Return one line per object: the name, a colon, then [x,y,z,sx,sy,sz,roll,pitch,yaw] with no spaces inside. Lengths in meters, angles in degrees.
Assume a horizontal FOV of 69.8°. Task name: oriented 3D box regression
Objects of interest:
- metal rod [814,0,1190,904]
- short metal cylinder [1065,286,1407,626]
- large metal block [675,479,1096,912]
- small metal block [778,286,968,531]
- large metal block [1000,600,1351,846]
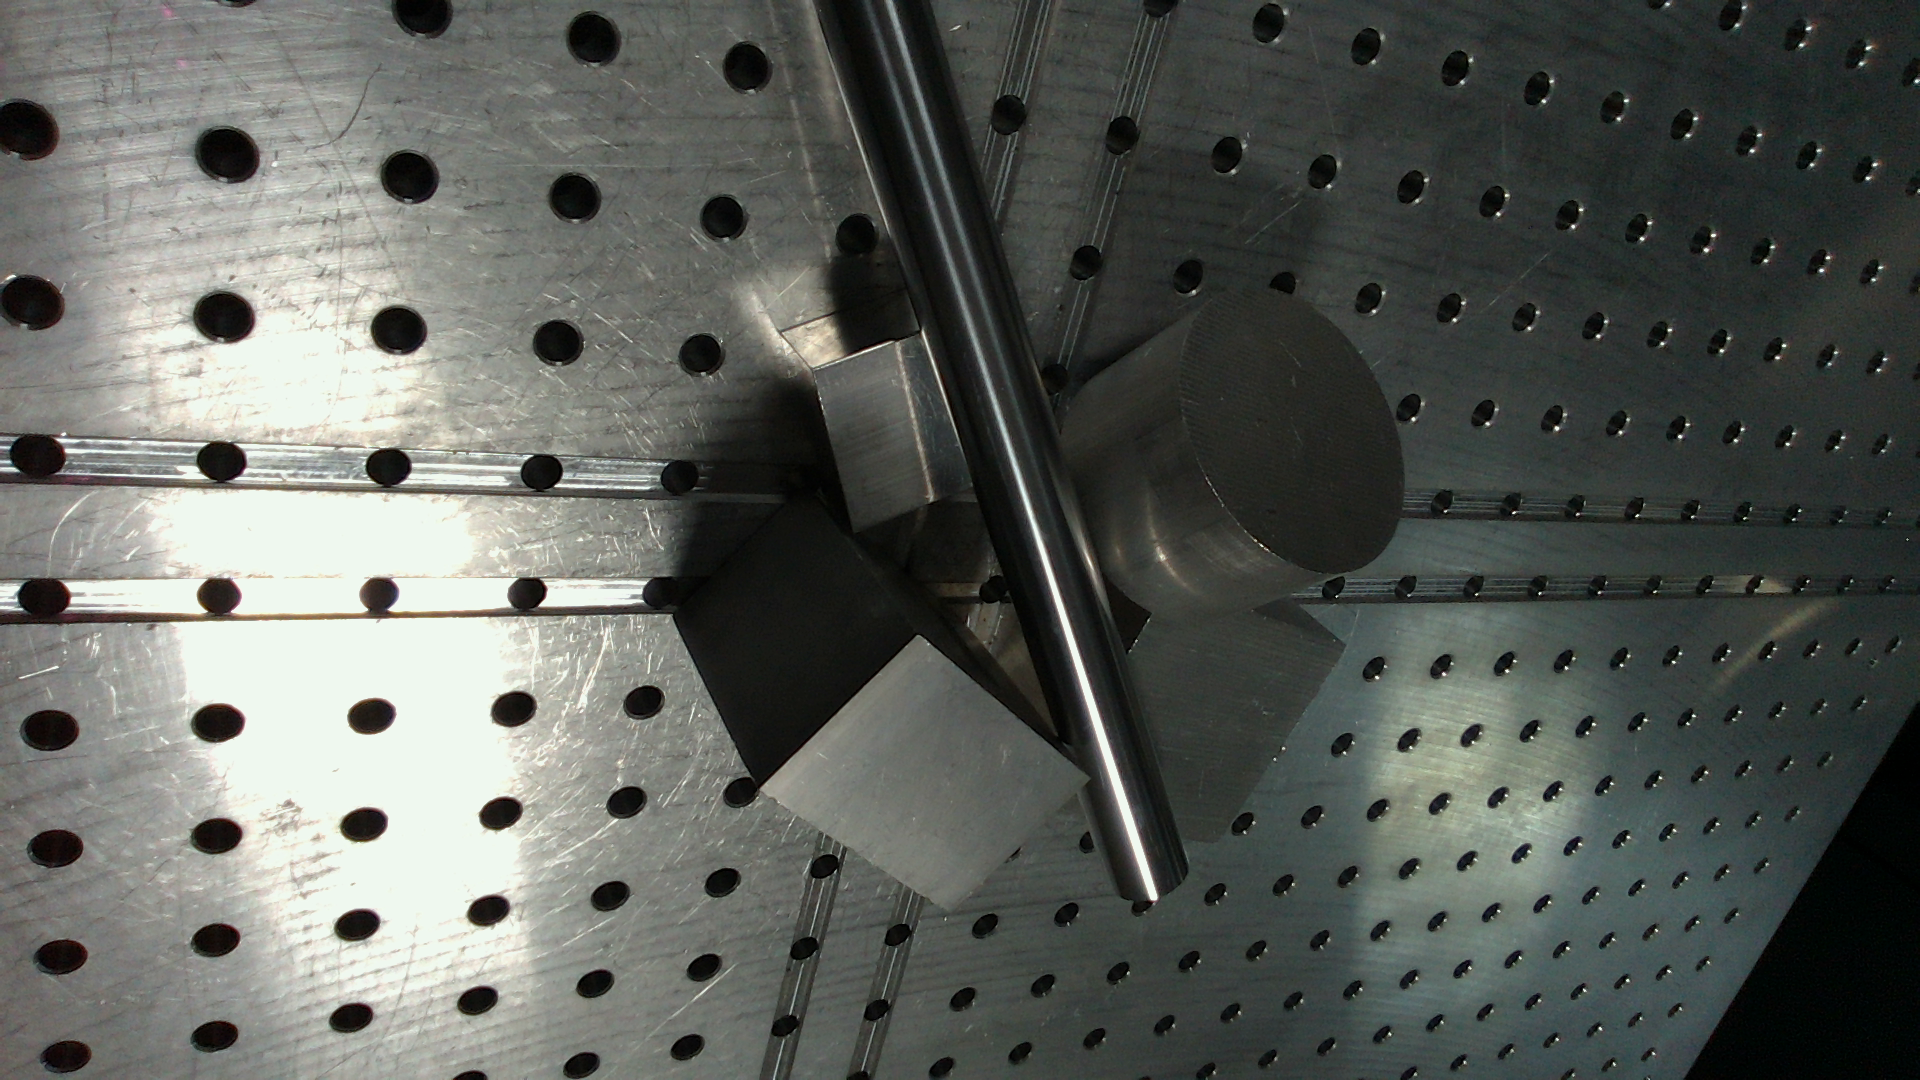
metal rod: [0.011,-0.030,0.341,0.025,0.025,0.300,-25,116,-13]
short metal cylinder: [0.075,-0.022,0.375,0.080,0.080,0.050,9,158,-32]
large metal block: [-0.021,0.041,0.370,0.050,0.080,0.080,-45,129,3]
small metal block: [-0.015,-0.037,0.362,0.050,0.025,0.050,-22,127,-15]
large metal block: [0.062,0.044,0.436,0.080,0.050,0.080,19,108,-35]
